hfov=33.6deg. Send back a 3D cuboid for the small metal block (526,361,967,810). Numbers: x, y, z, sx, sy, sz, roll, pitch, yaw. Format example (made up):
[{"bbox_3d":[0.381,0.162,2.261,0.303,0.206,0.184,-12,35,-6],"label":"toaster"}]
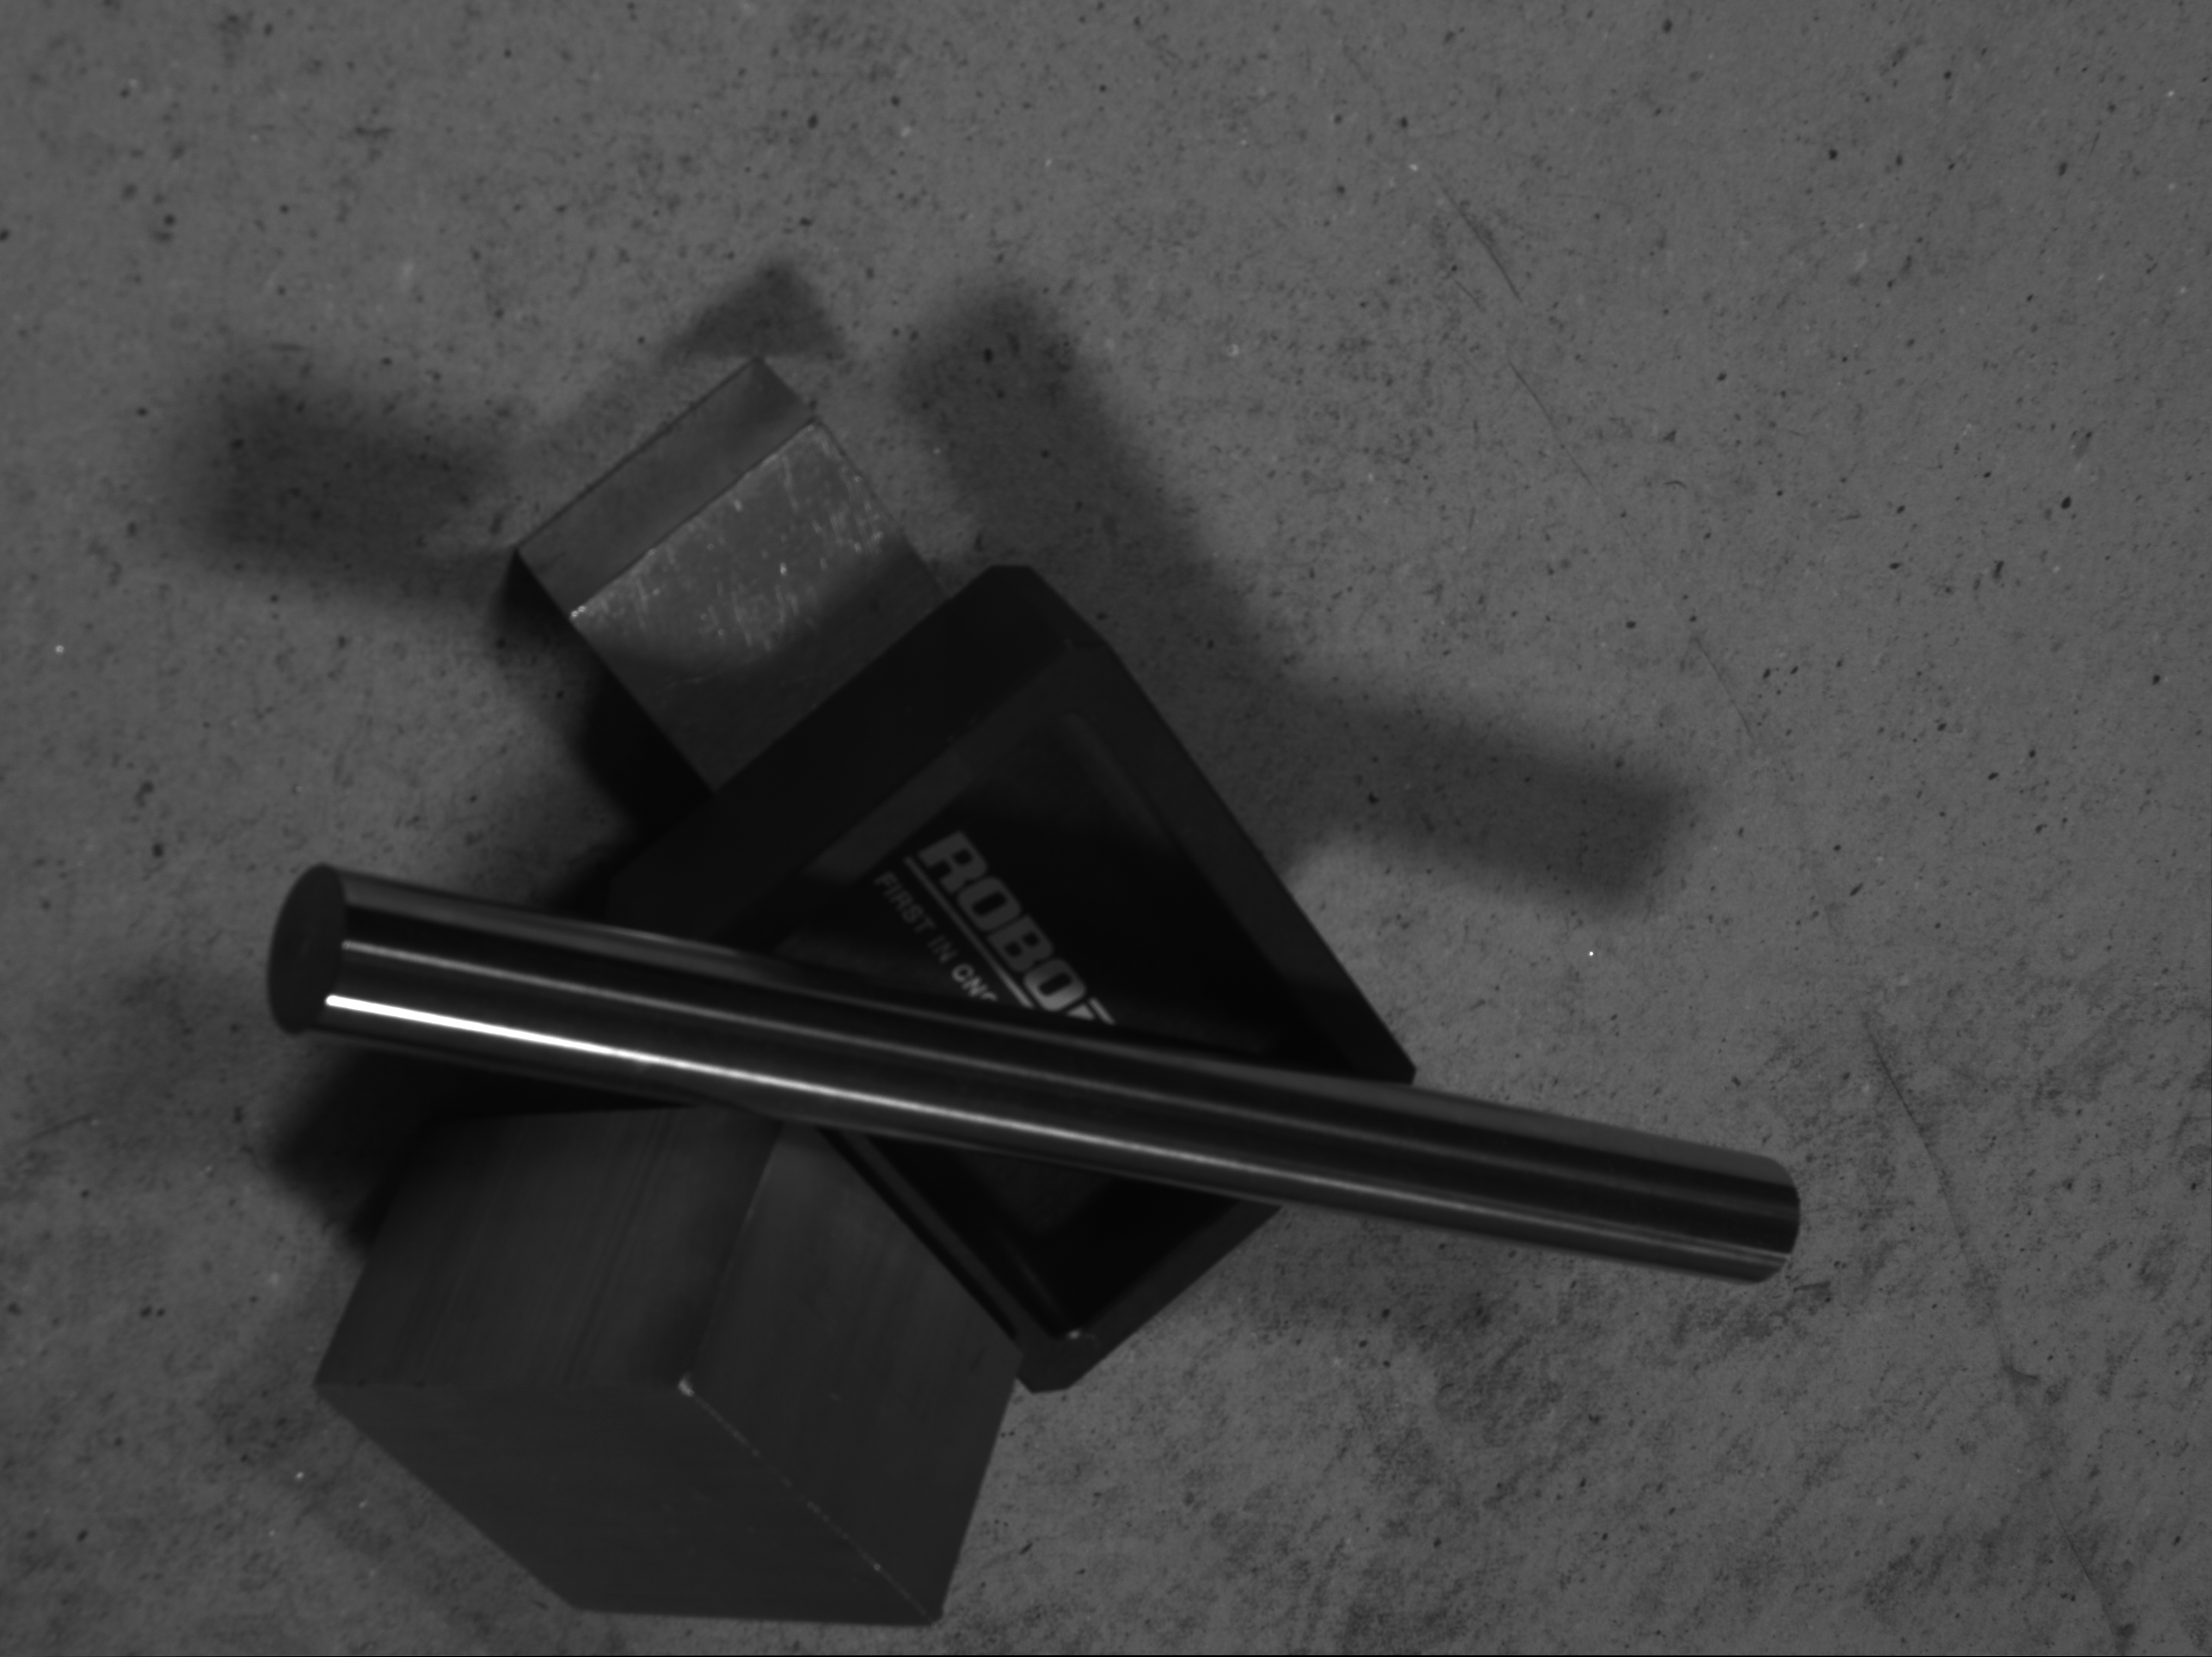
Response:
[{"bbox_3d":[-0.057,-0.038,0.594,0.050,0.025,0.050,-39,130,-4],"label":"small metal block"}]

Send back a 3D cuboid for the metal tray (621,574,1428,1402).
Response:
[{"bbox_3d":[-0.011,0.030,0.626,0.090,0.030,0.130,-40,130,-3],"label":"metal tray"}]

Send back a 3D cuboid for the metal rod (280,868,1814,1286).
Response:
[{"bbox_3d":[0.006,0.046,0.611,0.301,0.025,0.025,13,111,-35],"label":"metal rod"}]

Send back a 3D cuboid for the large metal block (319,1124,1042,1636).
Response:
[{"bbox_3d":[-0.070,0.094,0.621,0.080,0.080,0.050,52,45,-40],"label":"large metal block"}]

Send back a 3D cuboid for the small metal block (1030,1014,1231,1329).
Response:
[{"bbox_3d":[0.012,0.059,0.694,0.050,0.025,0.050,-44,130,0],"label":"small metal block"}]
